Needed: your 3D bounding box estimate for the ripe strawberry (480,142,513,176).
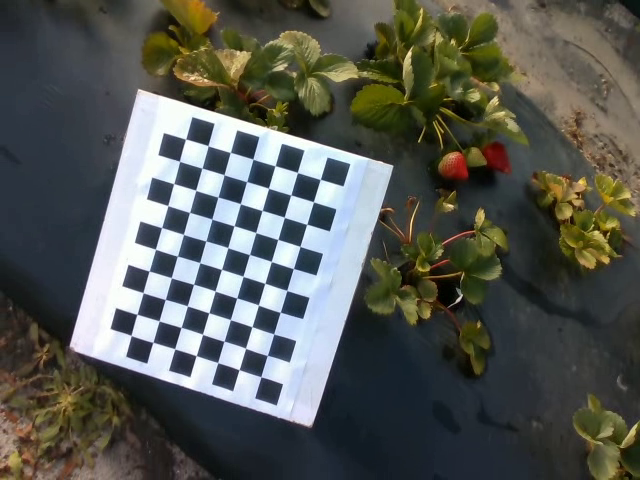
[{"bbox_3d":[0.278,-0.126,0.937,0.048,0.065,0.050,-32,-4,6],"label":"ripe strawberry"}]
